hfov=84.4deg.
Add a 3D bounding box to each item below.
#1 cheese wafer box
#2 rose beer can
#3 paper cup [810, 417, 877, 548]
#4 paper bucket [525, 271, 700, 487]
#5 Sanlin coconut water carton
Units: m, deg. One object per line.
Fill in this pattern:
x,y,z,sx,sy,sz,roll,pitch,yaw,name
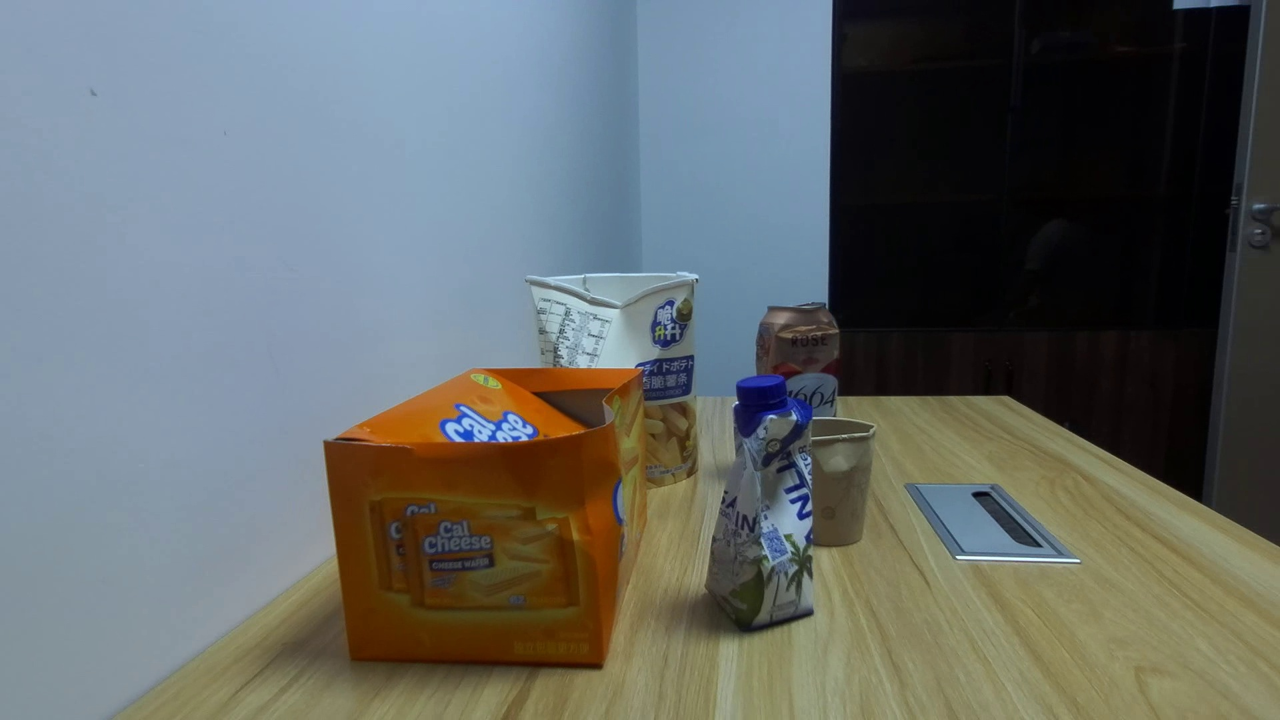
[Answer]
-0.077,0.088,0.470,0.152,0.132,0.230,1,8,6,cheese wafer box
0.148,0.031,0.660,0.076,0.167,0.065,-5,6,-2,rose beer can
0.139,0.090,0.533,0.068,0.081,0.074,2,8,25,paper cup
-0.026,0.015,0.700,0.163,0.202,0.169,-4,5,-2,paper bucket
0.082,0.082,0.417,0.069,0.144,0.056,3,14,-24,Sanlin coconut water carton
